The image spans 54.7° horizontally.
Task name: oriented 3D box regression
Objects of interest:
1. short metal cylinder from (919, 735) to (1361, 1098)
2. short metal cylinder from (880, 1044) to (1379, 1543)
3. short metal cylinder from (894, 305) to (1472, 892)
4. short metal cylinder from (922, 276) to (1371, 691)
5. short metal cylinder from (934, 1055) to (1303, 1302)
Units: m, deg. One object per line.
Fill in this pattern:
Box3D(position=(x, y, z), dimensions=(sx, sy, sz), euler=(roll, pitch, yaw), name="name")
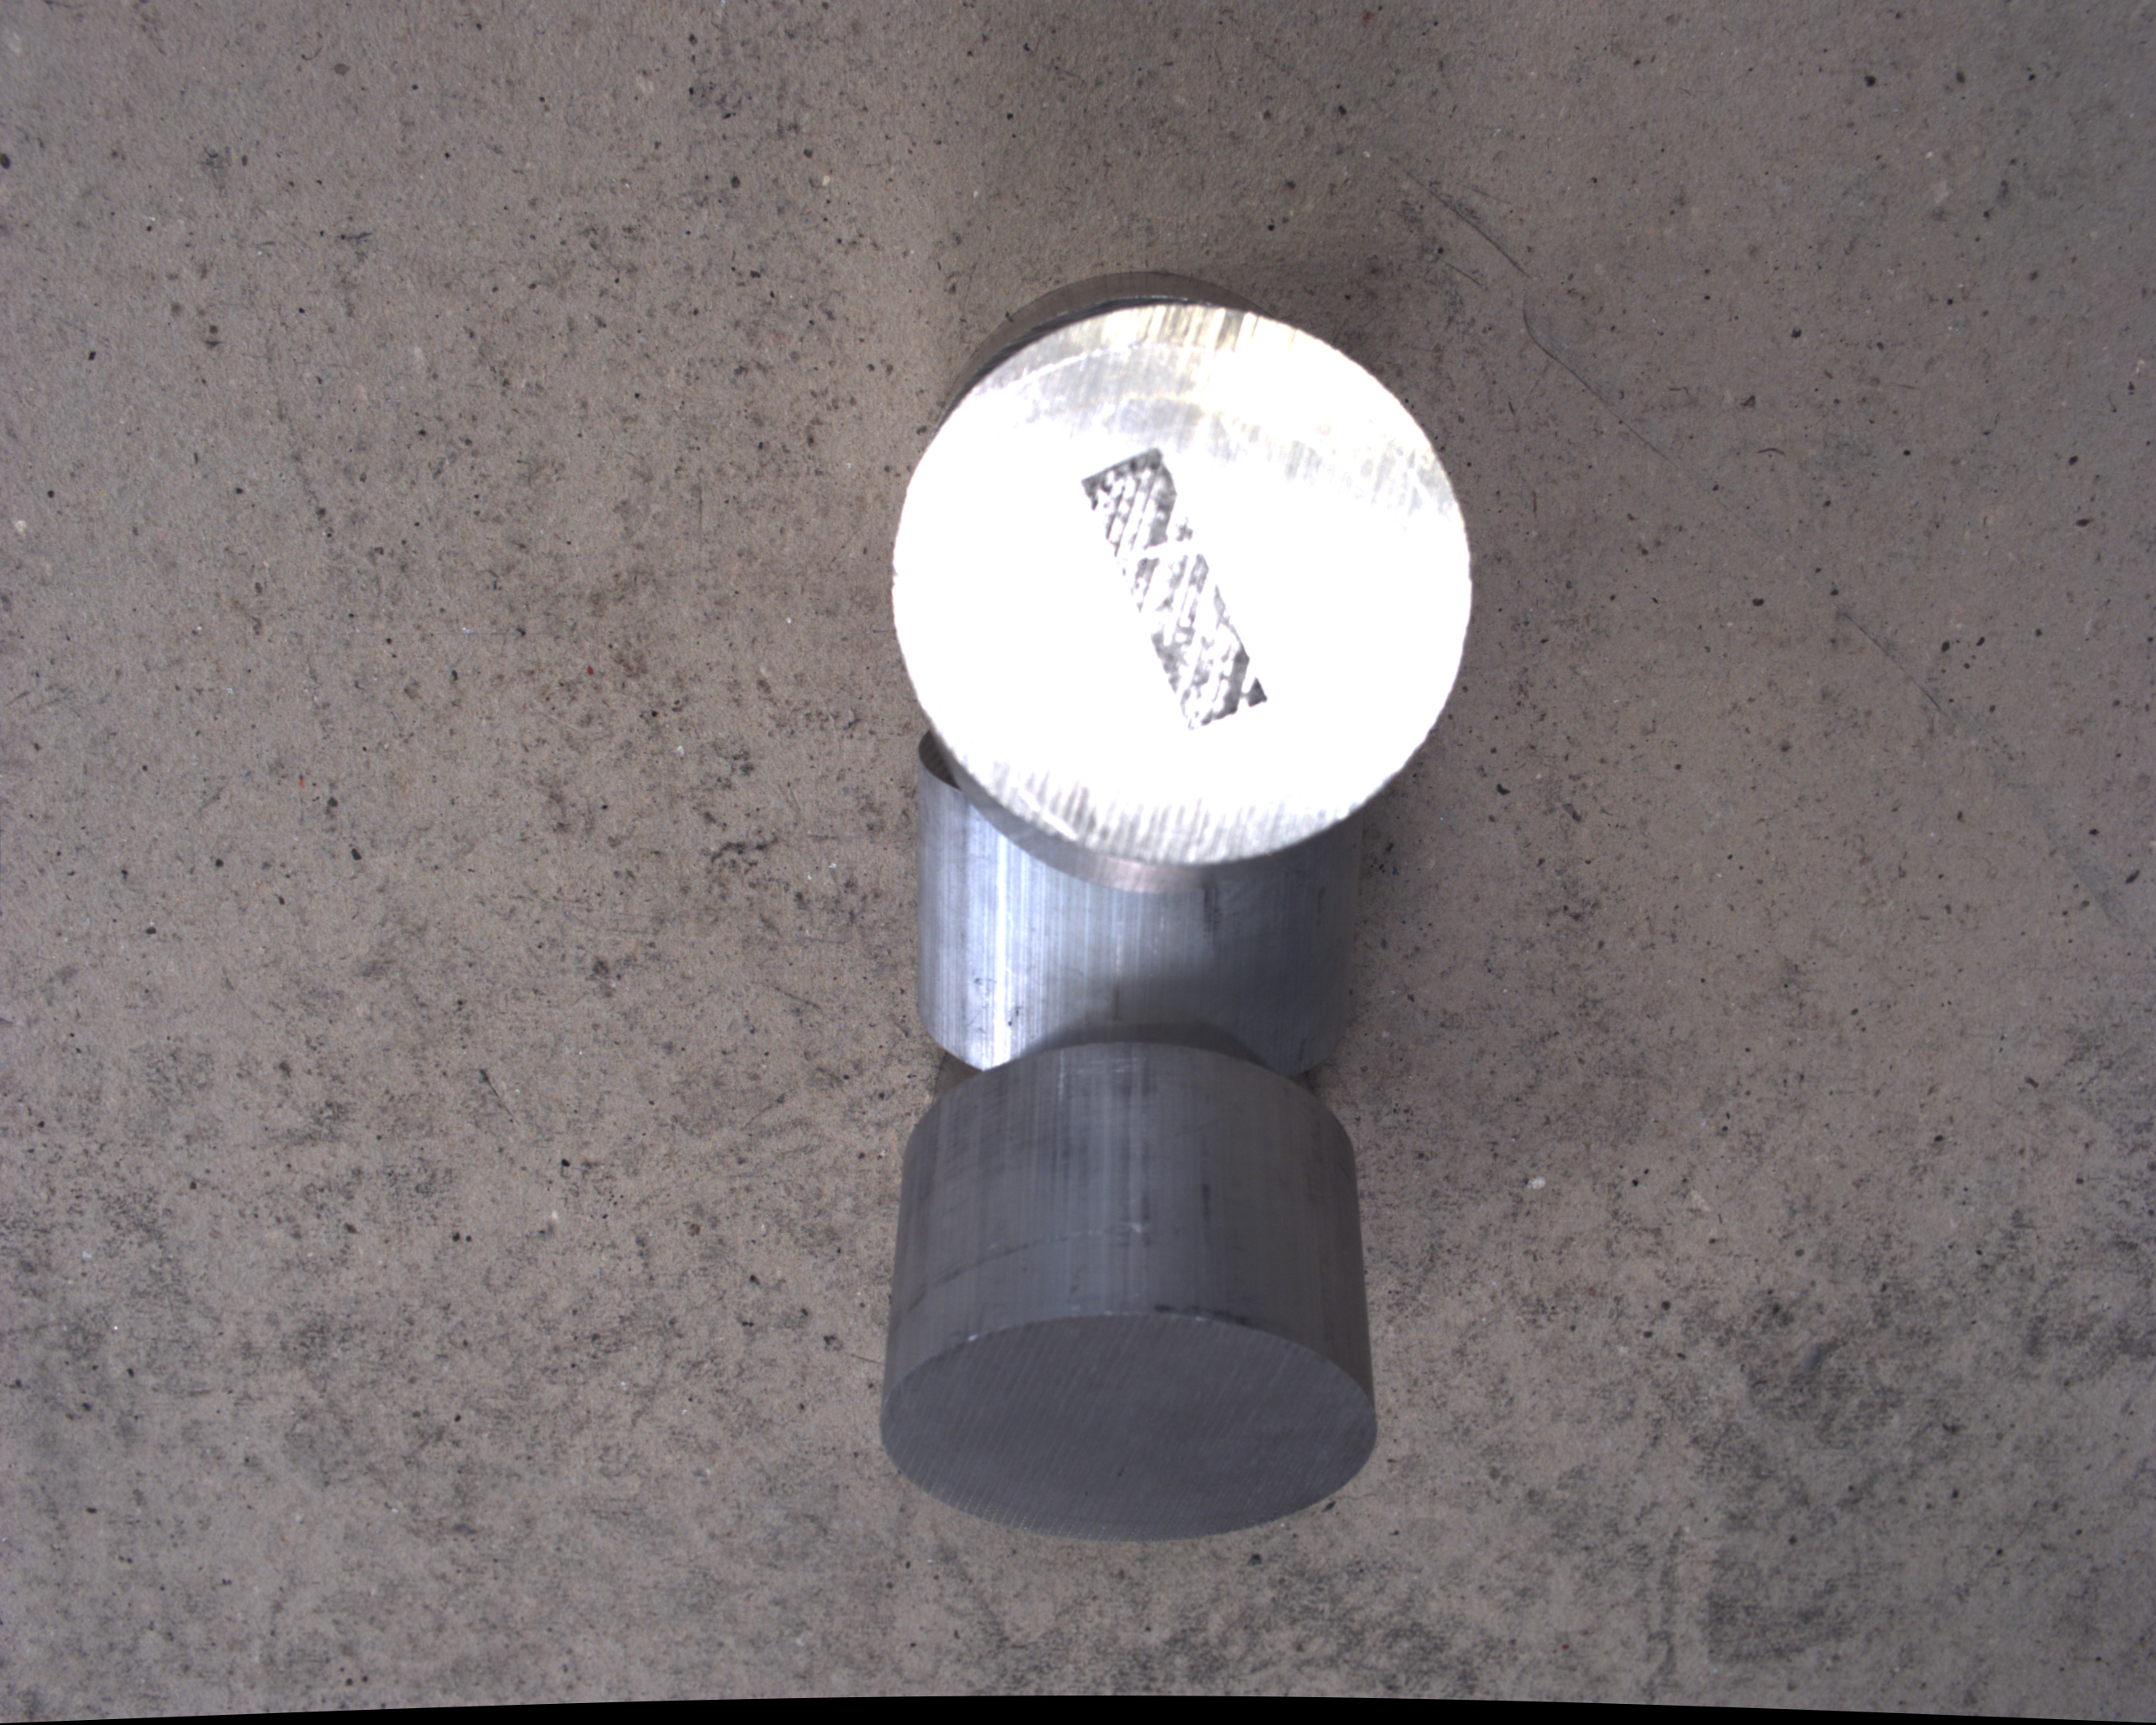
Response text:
Box3D(position=(0.011, 0.003, 0.383), dimensions=(0.081, 0.080, 0.050), euler=(1, 110, -1), name="short metal cylinder")
Box3D(position=(0.009, 0.075, 0.355), dimensions=(0.080, 0.050, 0.080), euler=(1, 138, 1), name="short metal cylinder")
Box3D(position=(0.014, -0.037, 0.315), dimensions=(0.081, 0.050, 0.080), euler=(0, 85, -1), name="short metal cylinder")
Box3D(position=(0.012, -0.063, 0.375), dimensions=(0.081, 0.050, 0.079), euler=(0, 110, 0), name="short metal cylinder")
Box3D(position=(0.009, 0.063, 0.421), dimensions=(0.081, 0.050, 0.079), euler=(0, 110, 0), name="short metal cylinder")
